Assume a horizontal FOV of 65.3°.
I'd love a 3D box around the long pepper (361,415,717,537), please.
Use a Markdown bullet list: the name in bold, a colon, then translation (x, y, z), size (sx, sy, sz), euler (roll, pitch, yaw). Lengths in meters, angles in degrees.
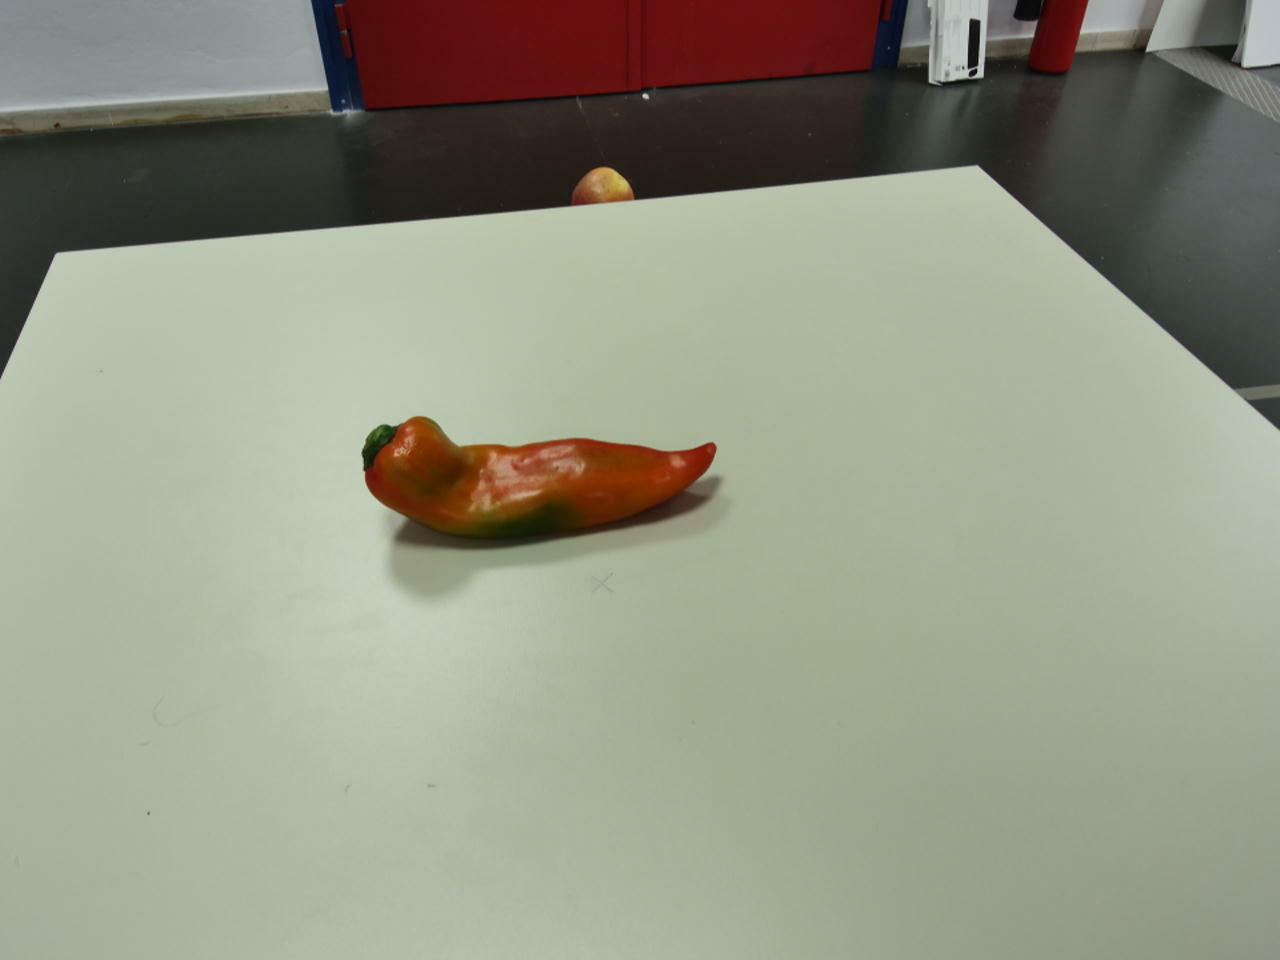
- **long pepper**: translation (-0.054, -0.009, 0.561), size (0.199, 0.065, 0.066), euler (-5, 40, -6)
